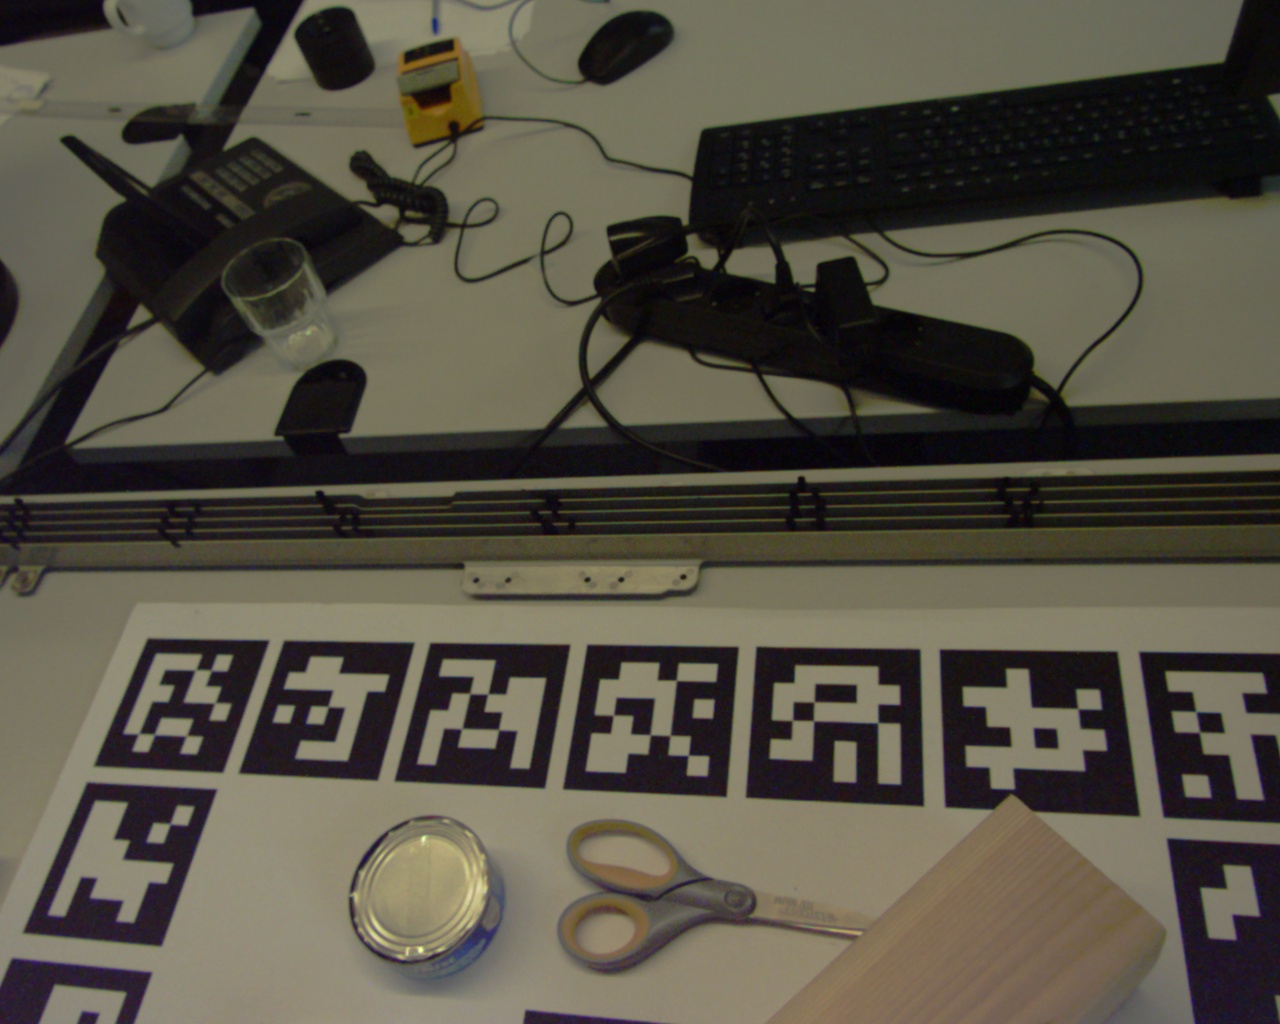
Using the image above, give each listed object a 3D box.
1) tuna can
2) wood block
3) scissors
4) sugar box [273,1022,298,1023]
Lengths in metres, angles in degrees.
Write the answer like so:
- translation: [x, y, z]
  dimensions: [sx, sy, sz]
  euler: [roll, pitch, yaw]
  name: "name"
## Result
- translation: [-0.134, 0.236, 0.695]
  dimensions: [0.086, 0.033, 0.086]
  euler: [-8, 53, 10]
  name: "tuna can"
- translation: [0.137, 0.263, 0.569]
  dimensions: [0.205, 0.090, 0.091]
  euler: [-38, 53, -14]
  name: "wood block"
- translation: [0.038, 0.233, 0.662]
  dimensions: [0.205, 0.016, 0.087]
  euler: [4, 56, 21]
  name: "scissors"
- translation: [-0.181, 0.373, 0.605]
  dimensions: [0.093, 0.045, 0.176]
  euler: [3, 56, 17]
  name: "sugar box"
